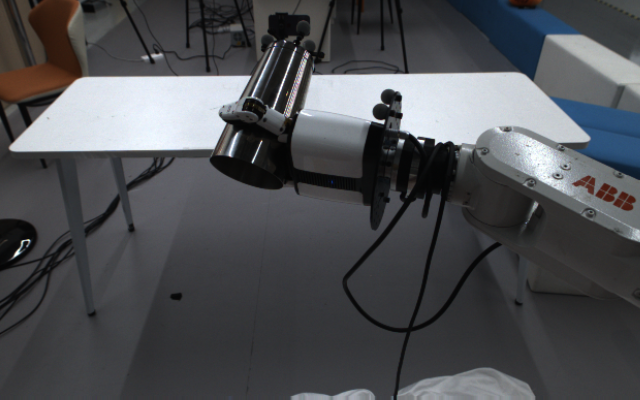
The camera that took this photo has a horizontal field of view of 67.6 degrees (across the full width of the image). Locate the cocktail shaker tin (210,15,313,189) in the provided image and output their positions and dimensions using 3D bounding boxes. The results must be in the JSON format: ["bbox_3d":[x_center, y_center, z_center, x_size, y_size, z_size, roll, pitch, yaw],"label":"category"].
[{"bbox_3d":[-0.064,-0.109,0.600,0.093,0.093,0.170,13,72,16],"label":"cocktail shaker tin"}]
